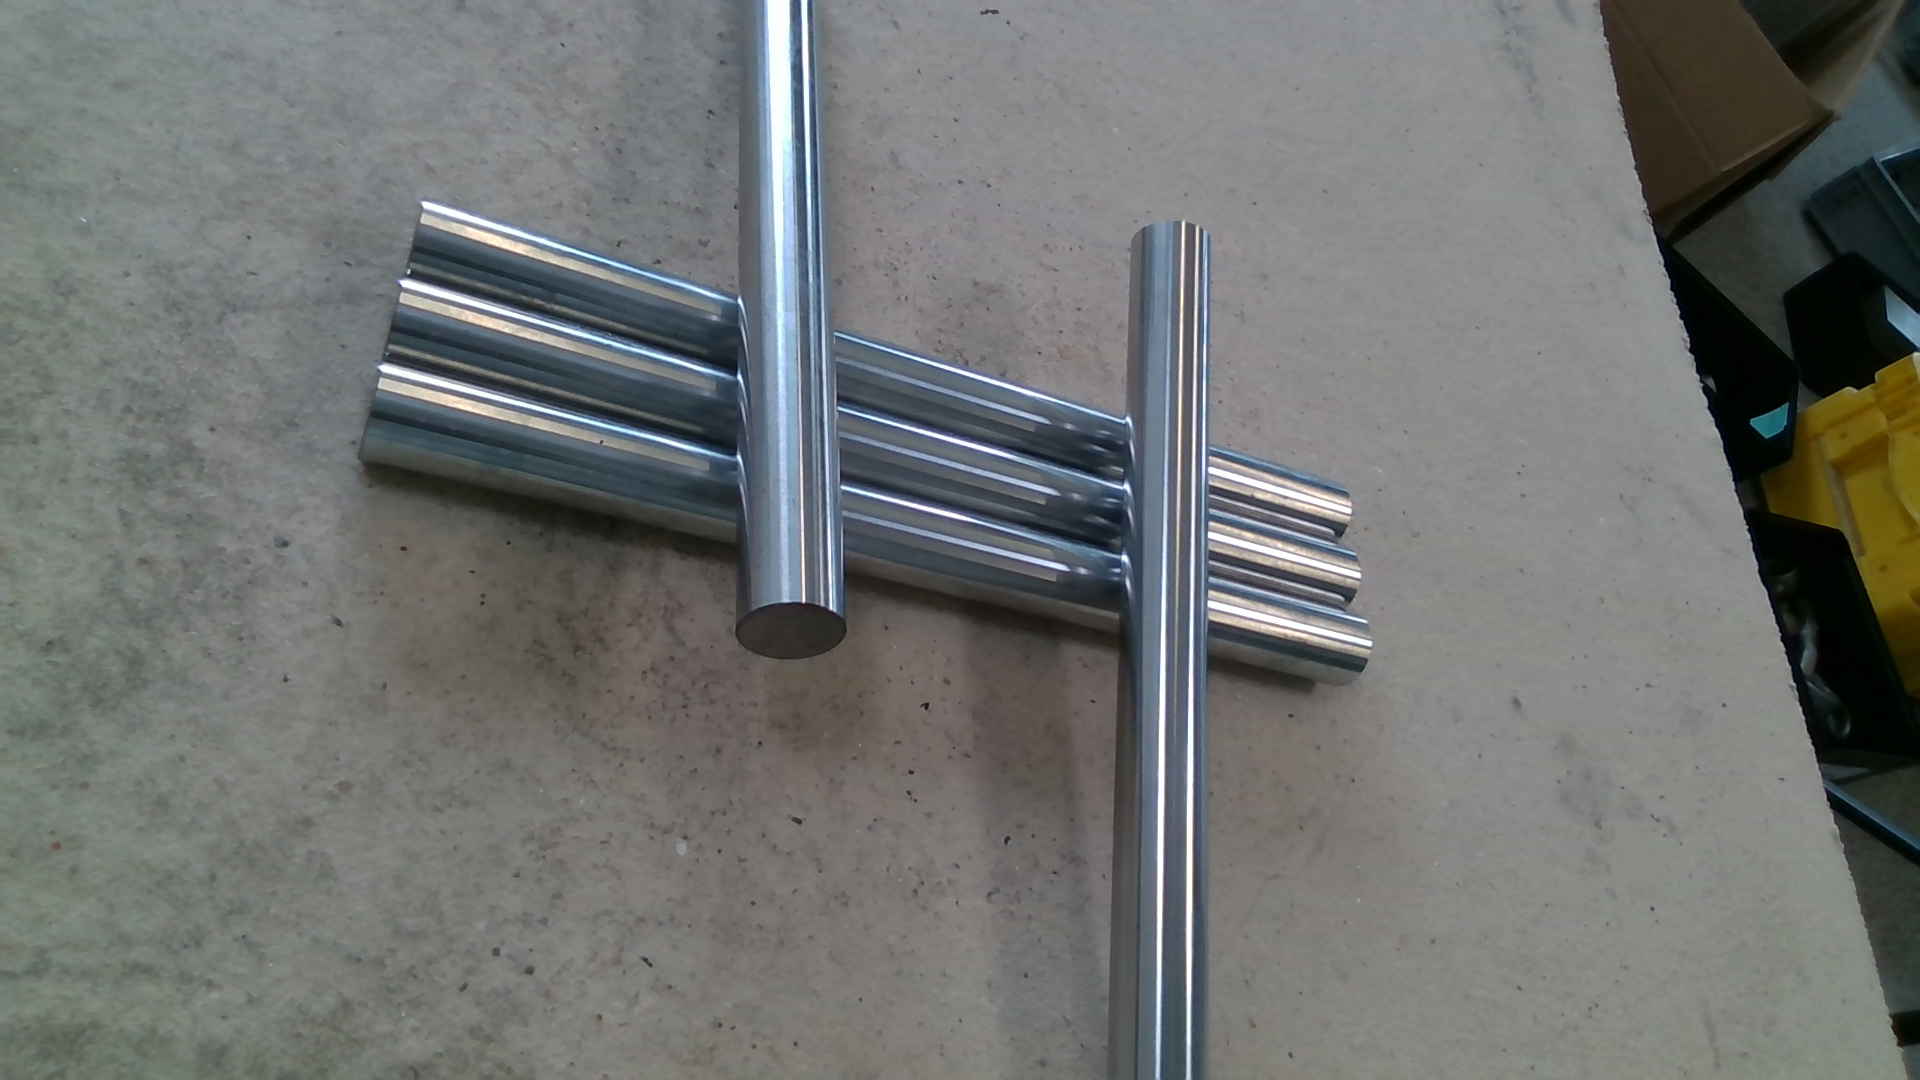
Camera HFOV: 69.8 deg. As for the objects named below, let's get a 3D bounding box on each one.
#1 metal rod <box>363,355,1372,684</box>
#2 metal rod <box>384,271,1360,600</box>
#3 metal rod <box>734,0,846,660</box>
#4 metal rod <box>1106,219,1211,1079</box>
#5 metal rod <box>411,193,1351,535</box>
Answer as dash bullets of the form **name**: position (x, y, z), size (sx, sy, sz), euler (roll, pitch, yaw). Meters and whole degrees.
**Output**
- **metal rod**: position (-0.006, 0.002, 0.388), size (0.300, 0.025, 0.025), euler (14, 59, -25)
- **metal rod**: position (-0.006, -0.021, 0.400), size (0.300, 0.025, 0.025), euler (14, 59, -25)
- **metal rod**: position (-0.050, -0.103, 0.392), size (0.025, 0.025, 0.299), euler (13, 52, -26)
- **metal rod**: position (0.056, 0.045, 0.379), size (0.025, 0.025, 0.299), euler (15, 66, -25)
- **metal rod**: position (-0.006, -0.042, 0.412), size (0.300, 0.025, 0.025), euler (14, 59, -25)
